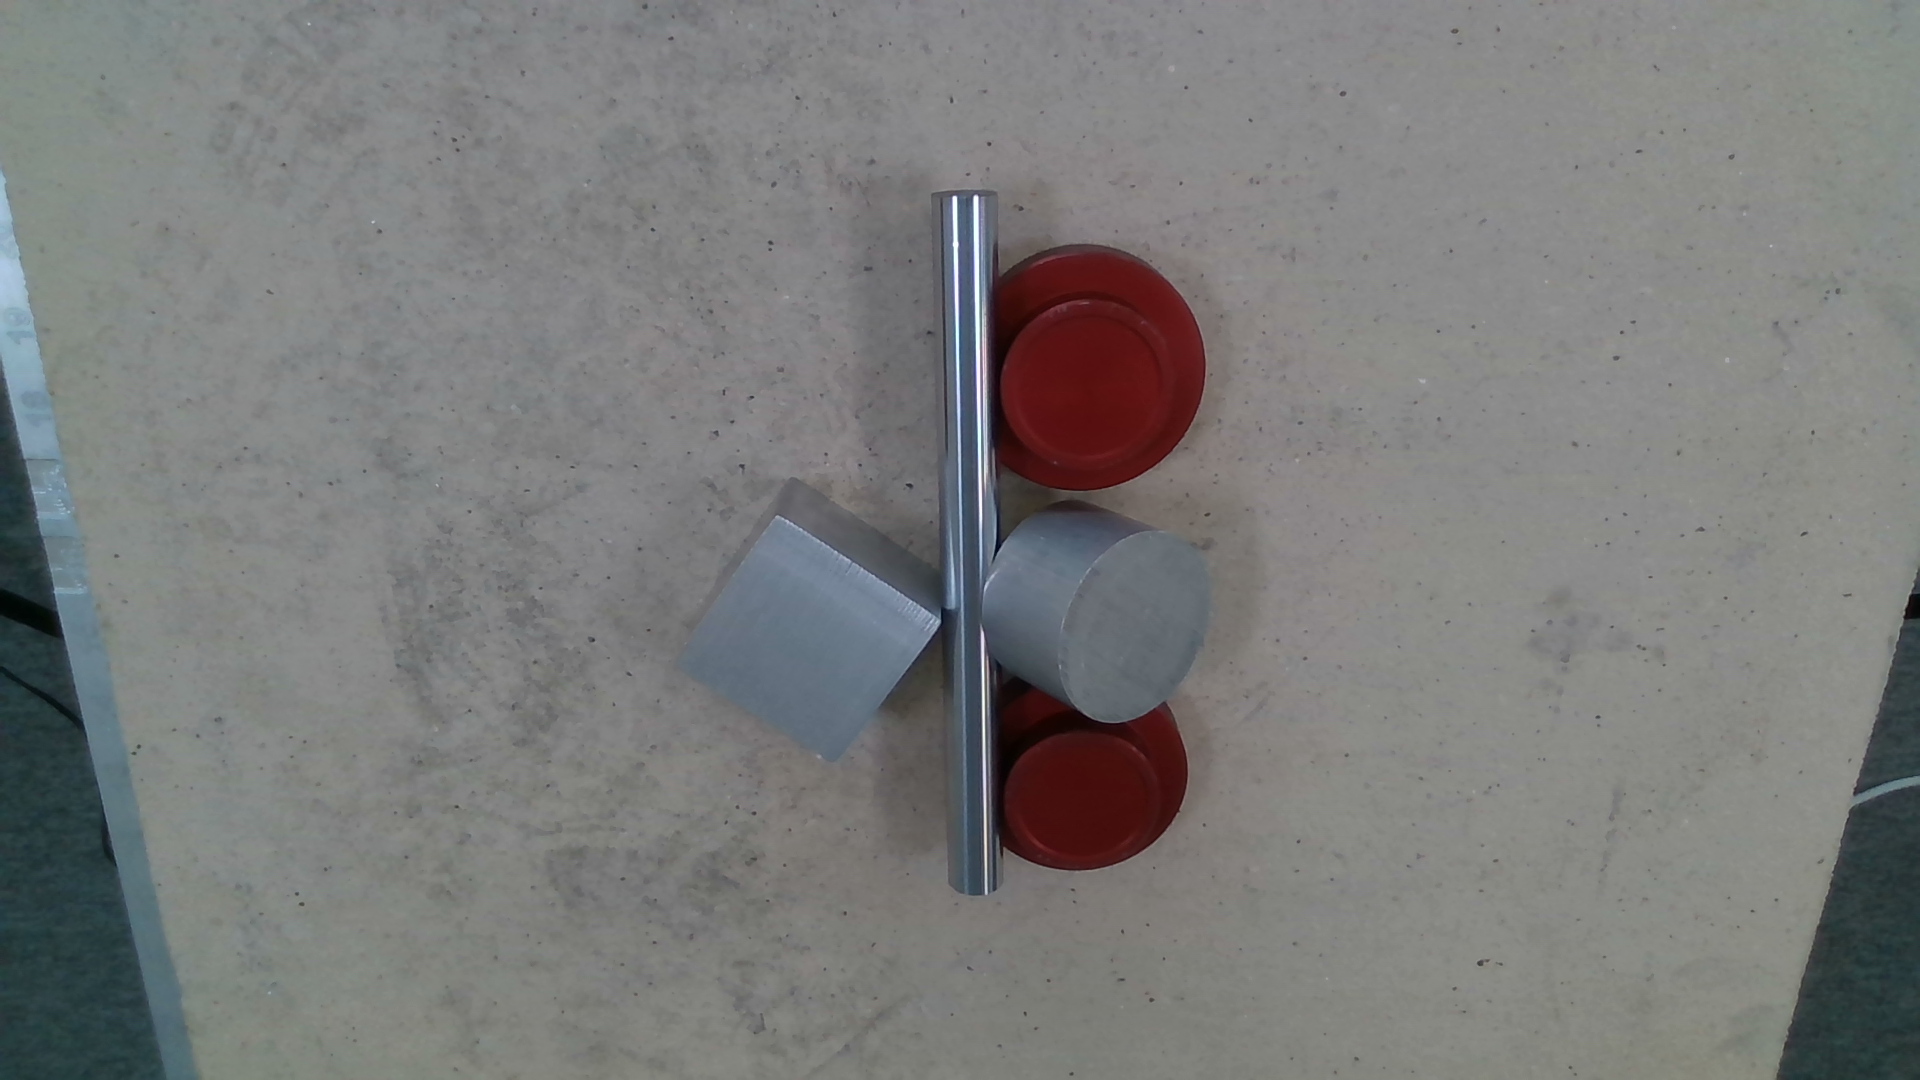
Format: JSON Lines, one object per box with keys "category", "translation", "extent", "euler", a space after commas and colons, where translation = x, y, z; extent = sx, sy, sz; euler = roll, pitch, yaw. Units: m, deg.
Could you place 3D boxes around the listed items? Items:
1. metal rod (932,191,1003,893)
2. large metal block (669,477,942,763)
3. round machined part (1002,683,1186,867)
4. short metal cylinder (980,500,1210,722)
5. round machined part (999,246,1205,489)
{"category": "metal rod", "translation": [0.005, 0.011, 0.567], "extent": [0.025, 0.025, 0.301], "euler": [-1, 110, 0]}
{"category": "large metal block", "translation": [-0.063, 0.033, 0.582], "extent": [0.080, 0.050, 0.080], "euler": [33, 107, -11]}
{"category": "round machined part", "translation": [0.052, 0.105, 0.615], "extent": [0.098, 0.042, 0.098], "euler": [0, 110, 0]}
{"category": "short metal cylinder", "translation": [0.055, 0.028, 0.562], "extent": [0.080, 0.050, 0.080], "euler": [-13, 114, -33]}
{"category": "round machined part", "translation": [0.049, -0.067, 0.551], "extent": [0.098, 0.042, 0.098], "euler": [0, 110, 0]}
